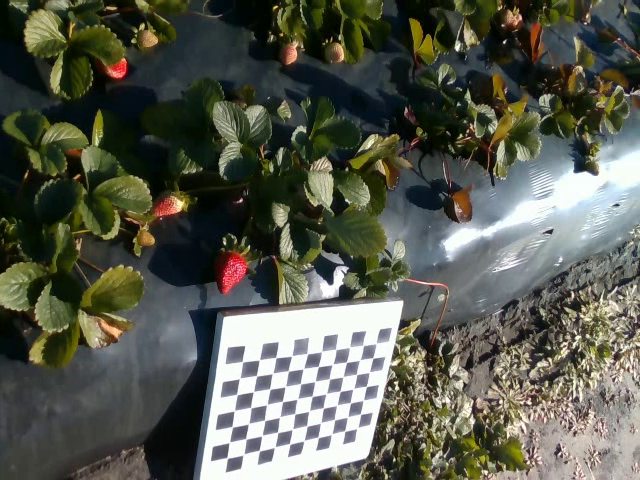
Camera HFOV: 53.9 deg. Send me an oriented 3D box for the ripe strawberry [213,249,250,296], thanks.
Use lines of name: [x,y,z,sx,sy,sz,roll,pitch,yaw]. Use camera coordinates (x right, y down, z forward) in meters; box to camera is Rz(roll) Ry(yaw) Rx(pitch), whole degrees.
ripe strawberry: [-0.114,0.041,0.736,0.058,0.062,0.066,-28,-51,13]
